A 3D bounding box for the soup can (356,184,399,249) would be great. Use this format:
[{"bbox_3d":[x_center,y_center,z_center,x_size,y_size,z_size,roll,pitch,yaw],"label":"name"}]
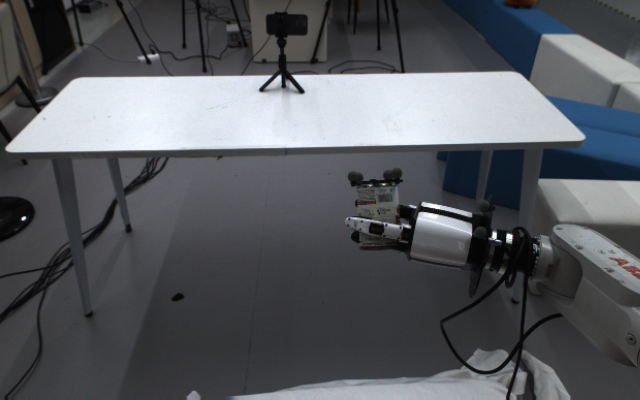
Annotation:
[{"bbox_3d":[0.094,0.026,0.769,0.067,0.101,0.067,-3,-1,0],"label":"soup can"}]
